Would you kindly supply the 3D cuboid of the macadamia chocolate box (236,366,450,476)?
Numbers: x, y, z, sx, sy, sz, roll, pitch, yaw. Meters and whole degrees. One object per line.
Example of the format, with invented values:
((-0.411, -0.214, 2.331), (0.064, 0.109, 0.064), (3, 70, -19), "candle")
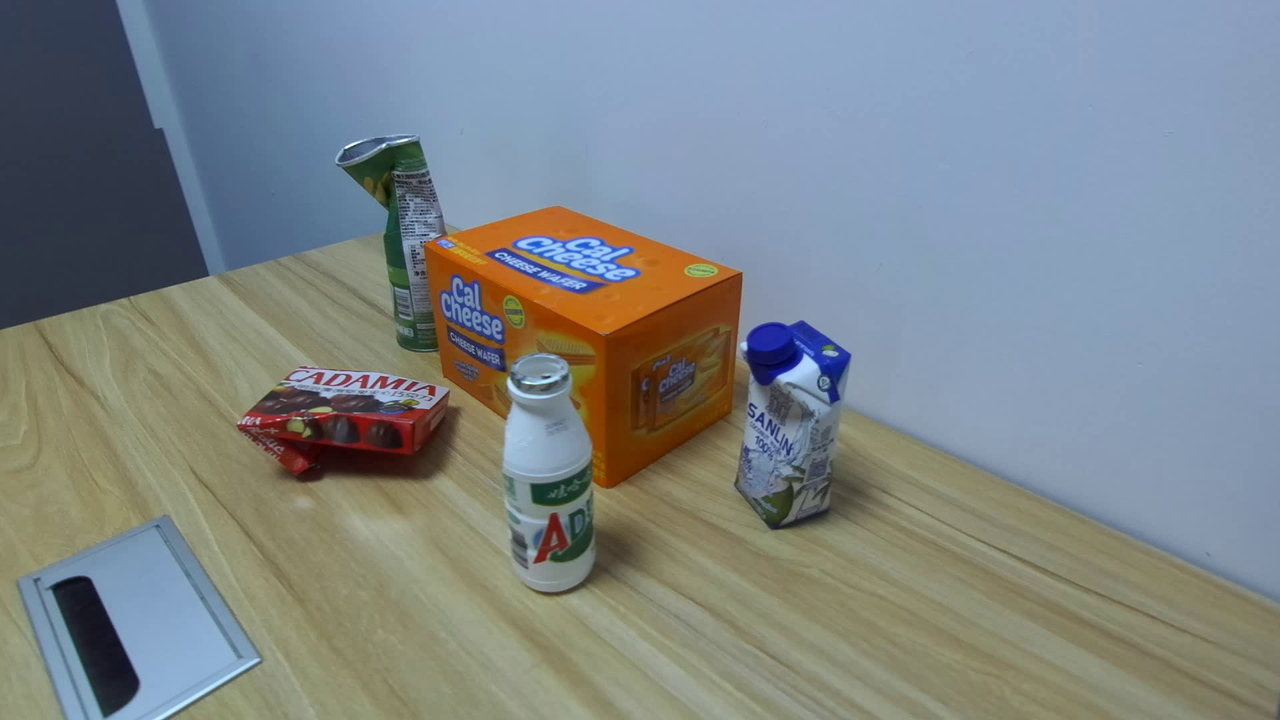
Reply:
((-0.216, 0.038, 0.538), (0.126, 0.056, 0.112), (0, 31, -2), "macadamia chocolate box")

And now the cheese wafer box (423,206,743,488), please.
((-0.049, -0.025, 0.580), (0.221, 0.129, 0.149), (27, 40, 36), "cheese wafer box")

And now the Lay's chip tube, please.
((-0.213, -0.105, 0.645), (0.071, 0.200, 0.078), (-22, 37, -22), "Lay's chip tube")

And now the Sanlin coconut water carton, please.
((0.096, 0.038, 0.463), (0.058, 0.142, 0.077), (-18, 35, -18), "Sanlin coconut water carton")

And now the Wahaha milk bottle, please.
((-0.054, 0.071, 0.409), (0.053, 0.137, 0.053), (0, 32, 0), "Wahaha milk bottle")
